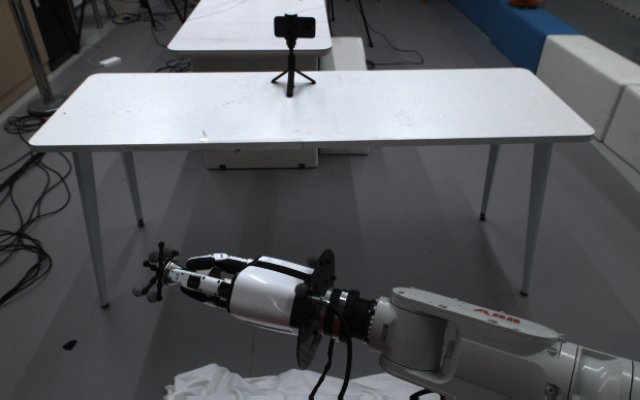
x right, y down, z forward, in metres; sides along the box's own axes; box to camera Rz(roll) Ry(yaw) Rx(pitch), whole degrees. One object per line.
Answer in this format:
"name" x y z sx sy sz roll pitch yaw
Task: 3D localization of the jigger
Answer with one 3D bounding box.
"jigger" -0.176 0.105 0.684 0.071 0.043 0.043 7 35 15
